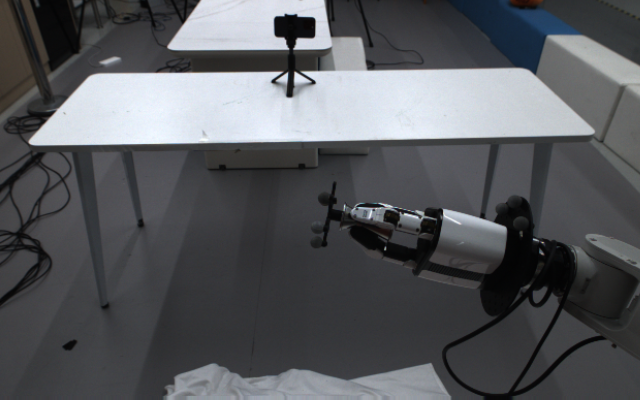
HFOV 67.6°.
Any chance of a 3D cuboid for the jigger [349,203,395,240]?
[{"bbox_3d":[0.069,0.024,0.641,0.071,0.043,0.043,11,35,3],"label":"jigger"}]
